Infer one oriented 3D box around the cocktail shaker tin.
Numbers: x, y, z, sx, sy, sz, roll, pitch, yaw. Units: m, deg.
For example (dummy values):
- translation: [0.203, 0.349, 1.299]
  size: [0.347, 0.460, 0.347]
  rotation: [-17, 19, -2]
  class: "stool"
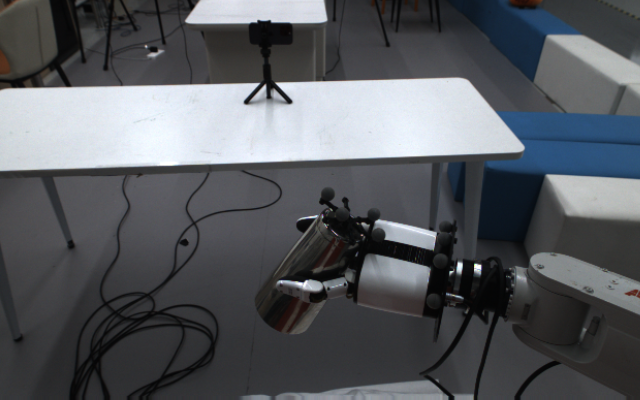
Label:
- translation: [-0.010, 0.087, 0.652]
  size: [0.093, 0.170, 0.093]
  rotation: [26, 33, -18]
  class: "cocktail shaker tin"
